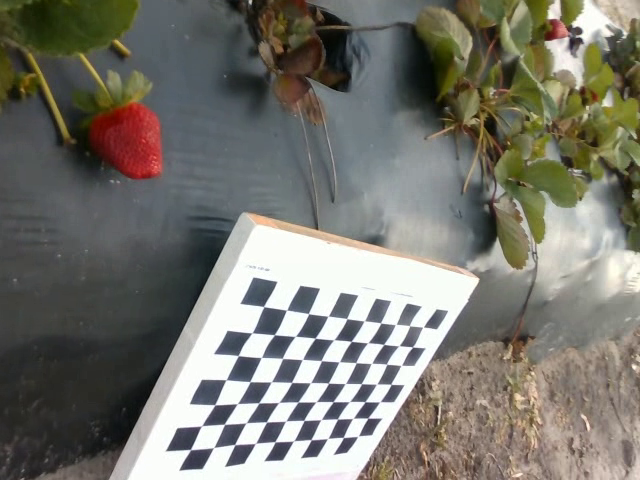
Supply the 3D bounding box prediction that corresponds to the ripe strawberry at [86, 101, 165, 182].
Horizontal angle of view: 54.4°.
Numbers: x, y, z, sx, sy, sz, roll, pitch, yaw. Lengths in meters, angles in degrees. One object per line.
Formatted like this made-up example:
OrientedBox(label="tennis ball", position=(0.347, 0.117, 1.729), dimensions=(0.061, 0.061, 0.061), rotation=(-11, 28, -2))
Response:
OrientedBox(label="ripe strawberry", position=(-0.111, -0.055, 0.355), dimensions=(0.045, 0.054, 0.042), rotation=(-31, -20, -11))
